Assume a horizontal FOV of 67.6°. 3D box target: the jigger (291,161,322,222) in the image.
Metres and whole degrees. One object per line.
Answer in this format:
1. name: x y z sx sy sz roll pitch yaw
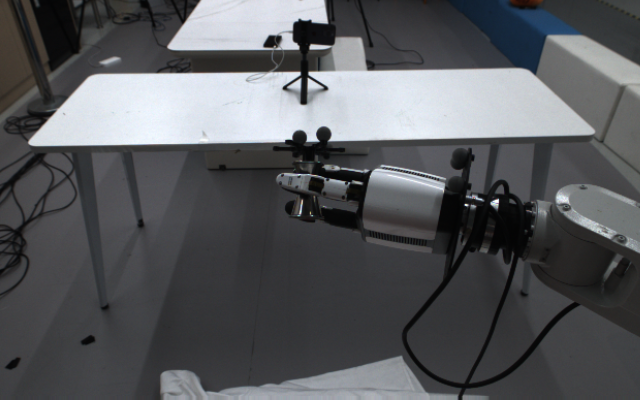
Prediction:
1. jigger: -0.015 -0.011 0.593 0.043 0.071 0.043 2 -6 0
